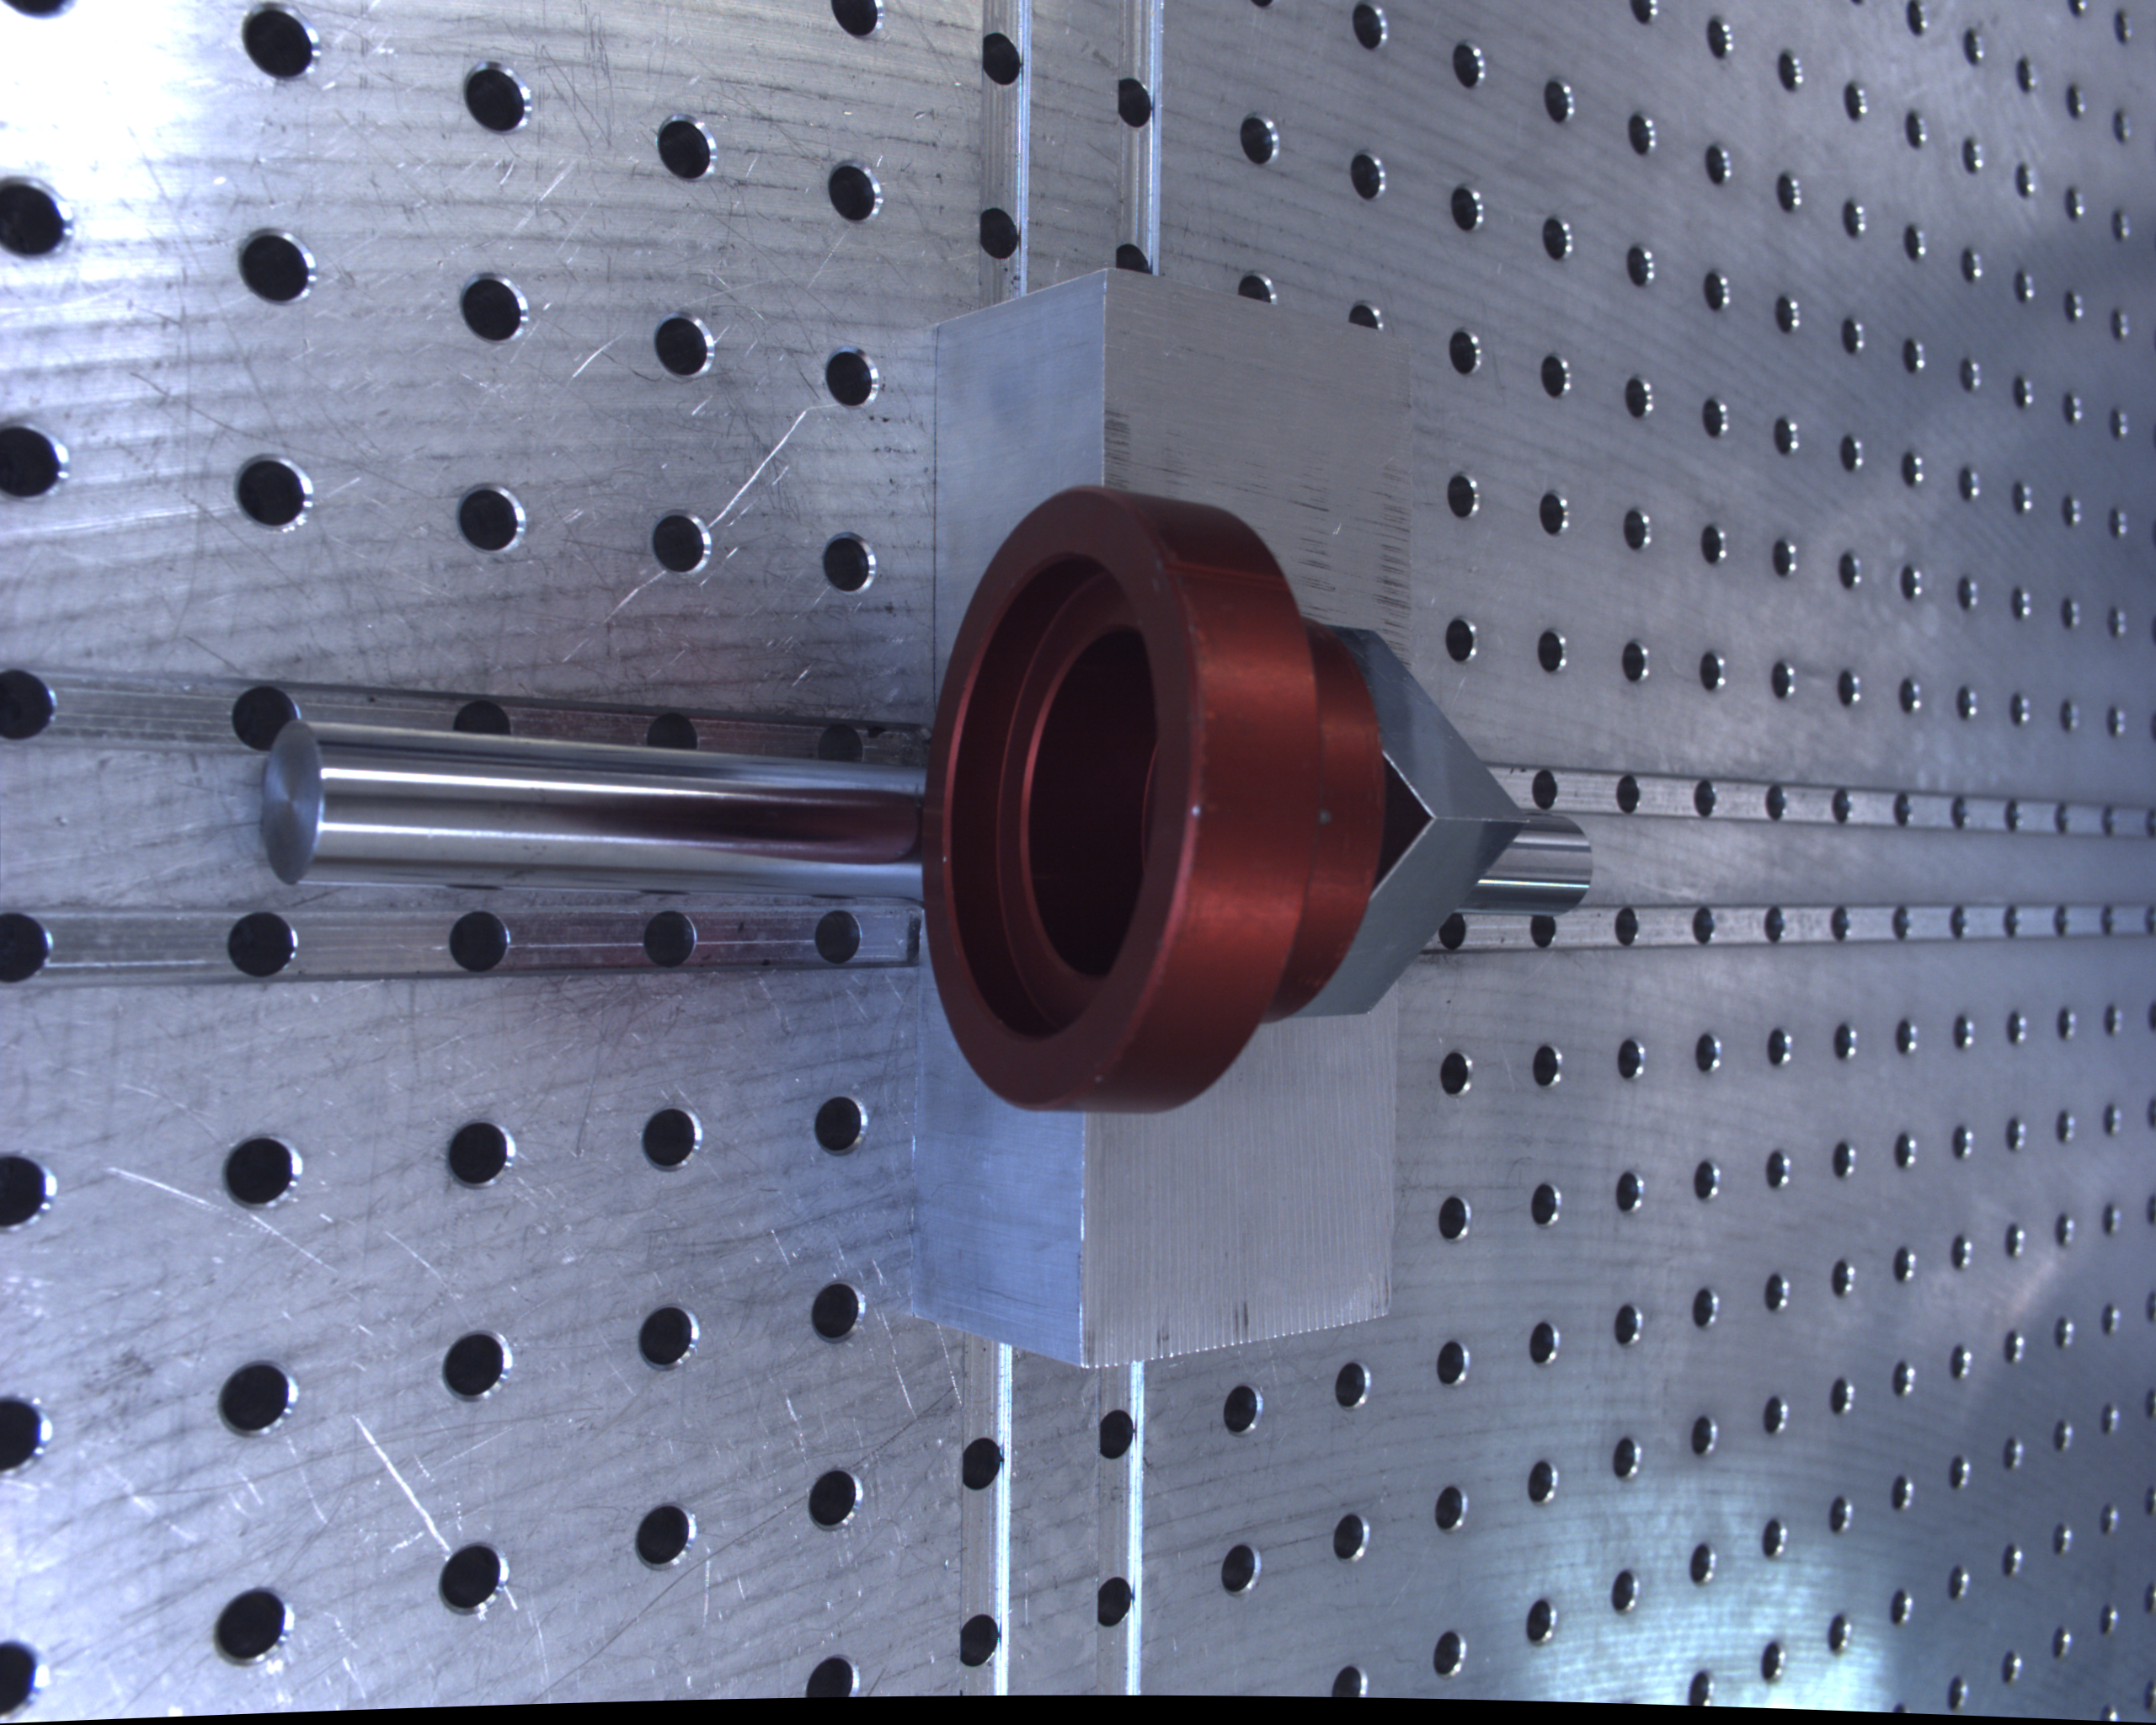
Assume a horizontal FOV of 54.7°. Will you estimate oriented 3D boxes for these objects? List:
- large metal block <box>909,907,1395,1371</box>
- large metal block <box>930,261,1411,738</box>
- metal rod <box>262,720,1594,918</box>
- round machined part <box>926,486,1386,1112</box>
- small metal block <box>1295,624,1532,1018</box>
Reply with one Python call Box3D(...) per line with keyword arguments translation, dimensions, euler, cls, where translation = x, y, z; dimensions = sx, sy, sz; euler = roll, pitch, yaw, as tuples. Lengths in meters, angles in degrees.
Box3D(translation=(0.016, 0.049, 0.406), dimensions=(0.081, 0.050, 0.080), euler=(2, 89, -40), cls="large metal block")
Box3D(translation=(0.019, -0.065, 0.409), dimensions=(0.081, 0.050, 0.080), euler=(1, 90, -40), cls="large metal block")
Box3D(translation=(-0.001, -0.004, 0.408), dimensions=(0.302, 0.025, 0.025), euler=(2, 89, -40), cls="metal rod")
Box3D(translation=(0.013, -0.009, 0.335), dimensions=(0.042, 0.098, 0.097), euler=(5, 87, -26), cls="round machined part")
Box3D(translation=(0.045, -0.007, 0.373), dimensions=(0.025, 0.050, 0.050), euler=(1, 46, -40), cls="small metal block")
